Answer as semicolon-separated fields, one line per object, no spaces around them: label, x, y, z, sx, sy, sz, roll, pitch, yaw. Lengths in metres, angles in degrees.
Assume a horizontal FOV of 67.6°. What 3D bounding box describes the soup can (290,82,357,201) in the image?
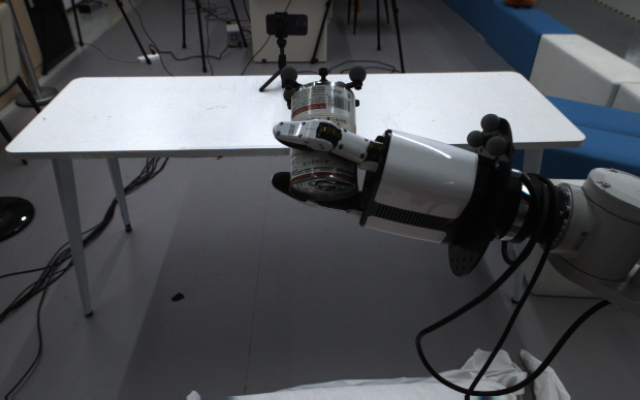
soup can;0.005;-0.057;0.482;0.067;0.067;0.101;1;72;-2
